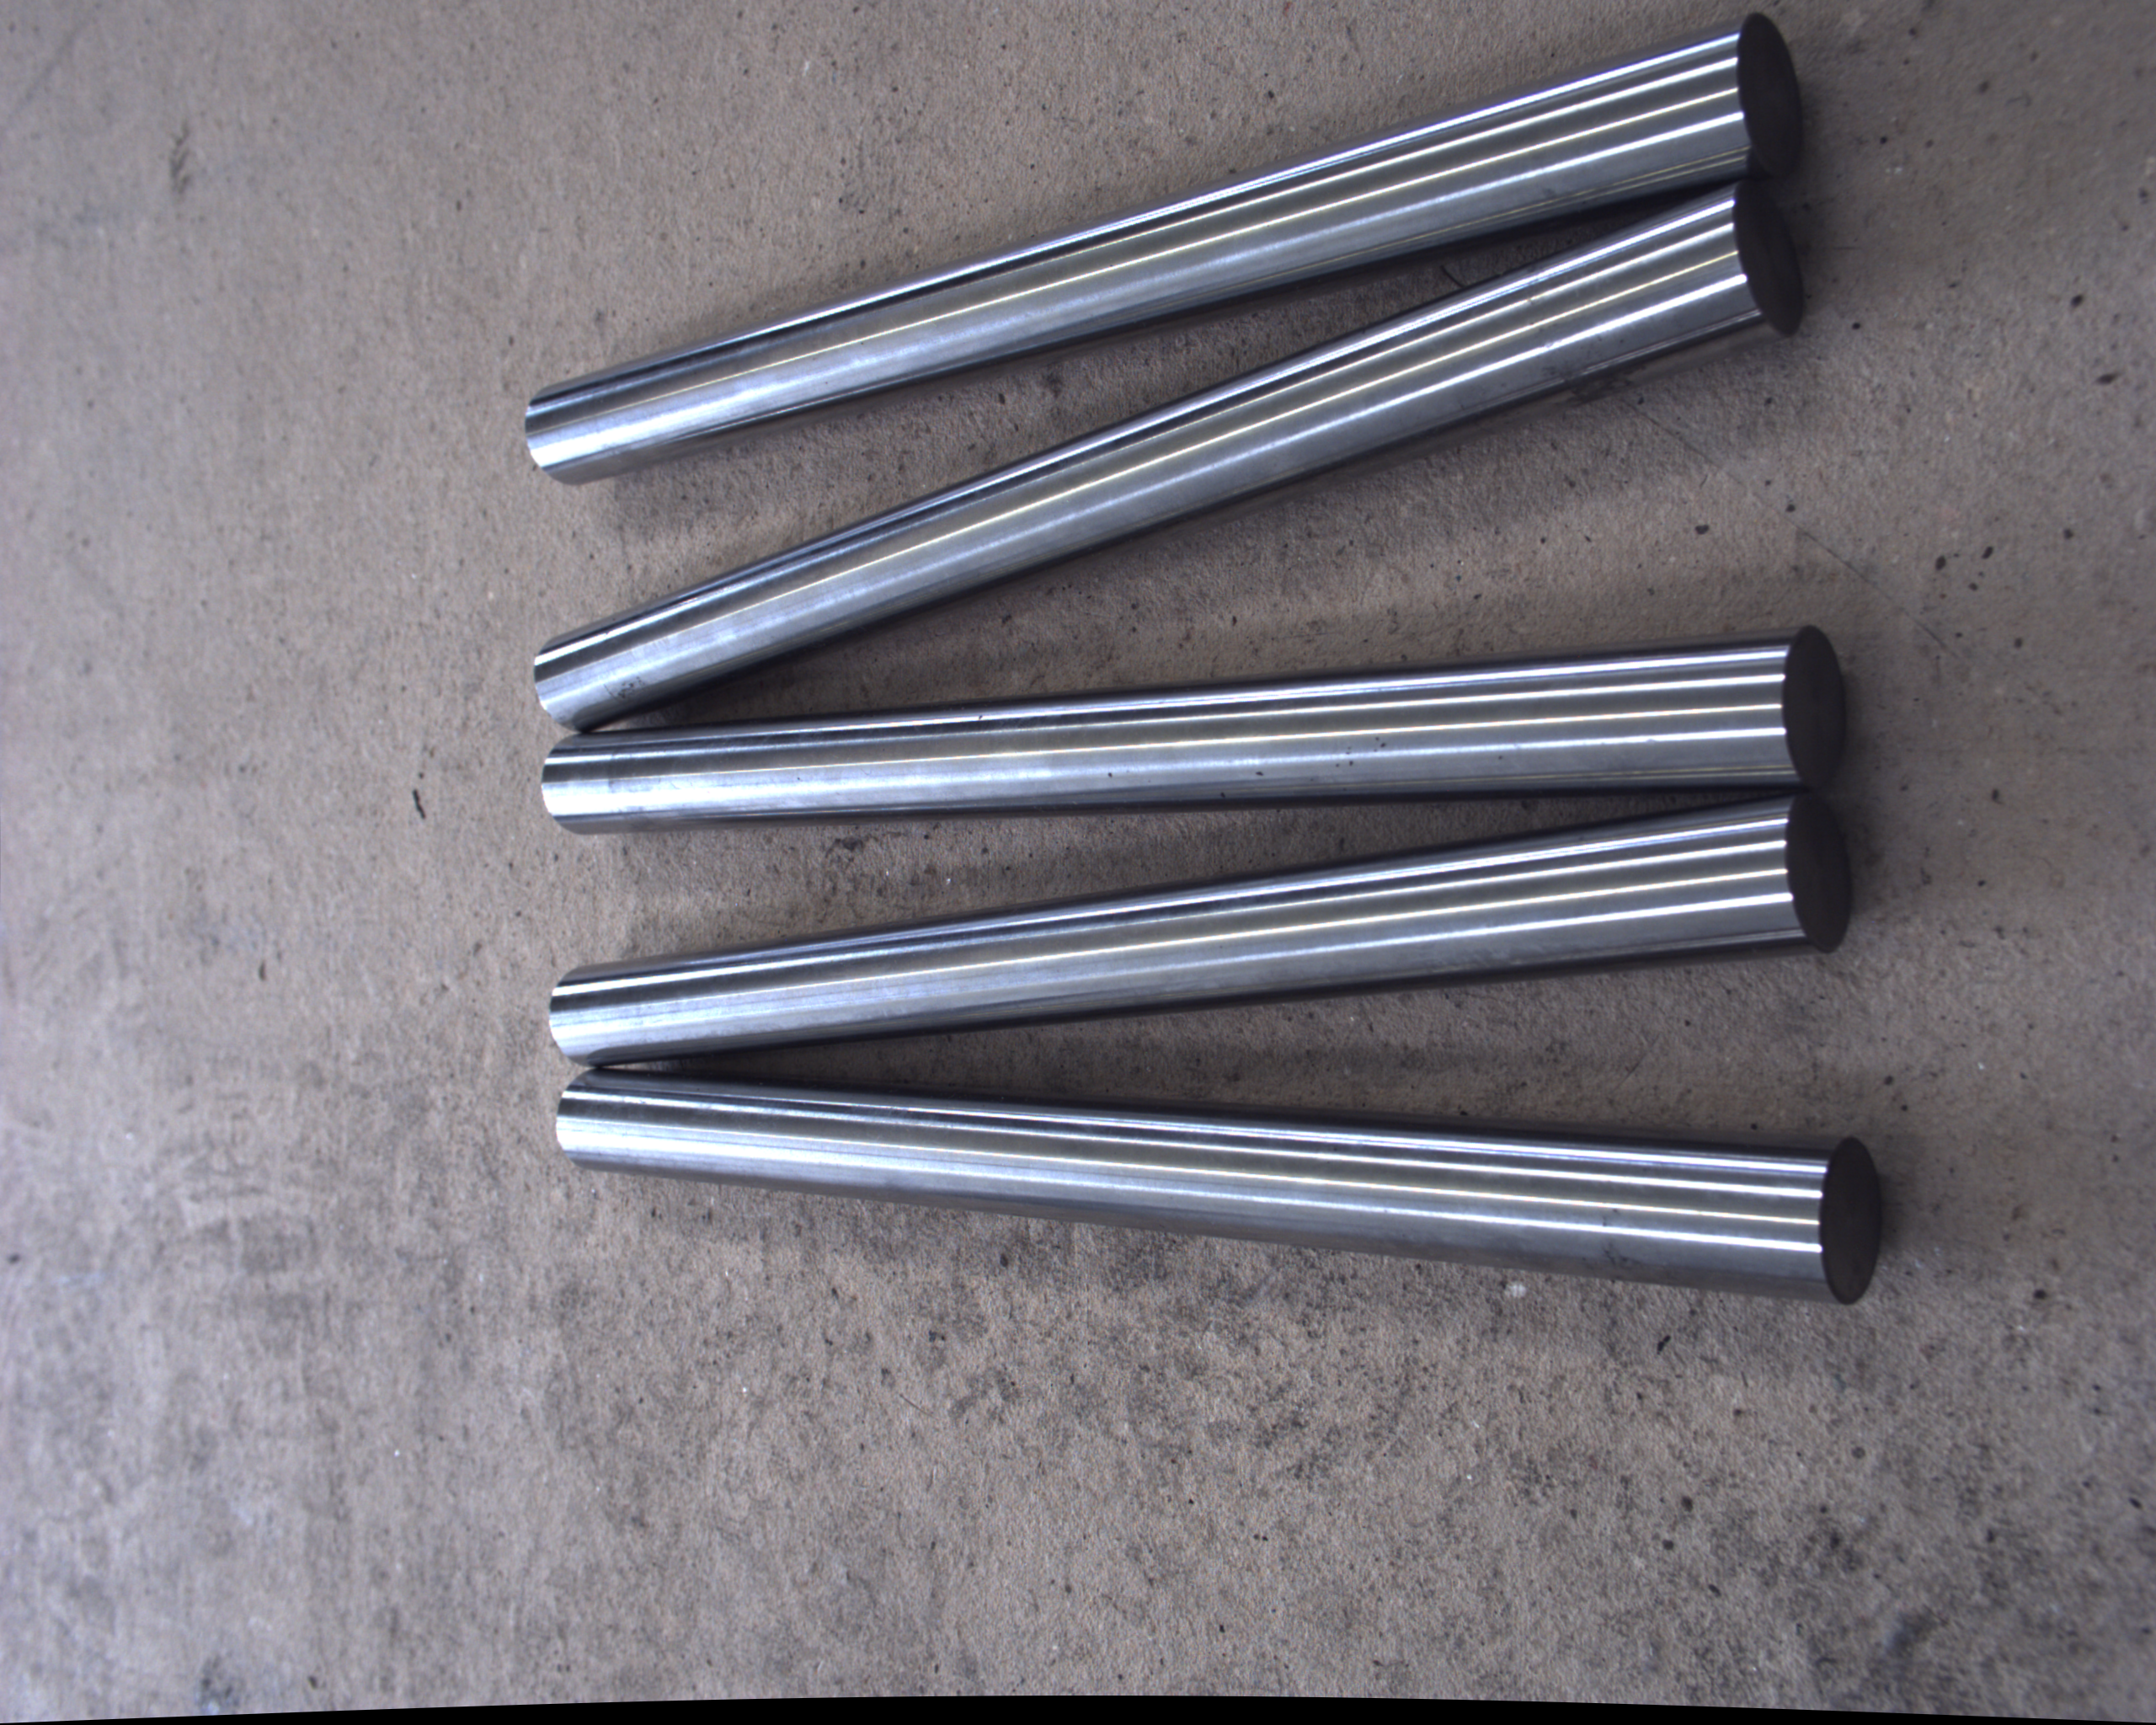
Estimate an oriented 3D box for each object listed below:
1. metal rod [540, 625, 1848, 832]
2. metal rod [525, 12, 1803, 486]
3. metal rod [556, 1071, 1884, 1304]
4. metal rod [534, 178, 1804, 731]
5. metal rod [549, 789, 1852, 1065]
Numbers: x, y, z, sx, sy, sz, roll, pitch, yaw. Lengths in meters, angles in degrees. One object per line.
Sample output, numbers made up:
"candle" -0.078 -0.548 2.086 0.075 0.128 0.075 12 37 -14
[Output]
"metal rod" -0.004 -0.021 0.410 0.300 0.025 0.025 -1 89 39
"metal rod" -0.009 -0.111 0.414 0.300 0.025 0.025 -3 88 40
"metal rod" 0.000 0.058 0.407 0.300 0.025 0.025 -2 89 39
"metal rod" -0.008 -0.068 0.413 0.300 0.025 0.025 -12 82 39
"metal rod" -0.003 0.019 0.409 0.300 0.025 0.025 -9 84 39
